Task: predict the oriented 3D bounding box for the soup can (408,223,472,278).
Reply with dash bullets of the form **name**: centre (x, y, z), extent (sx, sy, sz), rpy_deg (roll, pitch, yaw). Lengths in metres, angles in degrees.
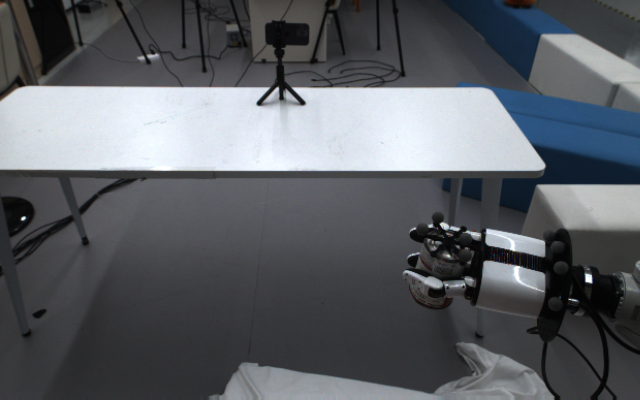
- **soup can**: centre (0.176, 0.102, 0.711), extent (0.067, 0.101, 0.067), rpy_deg (5, 36, -3)
